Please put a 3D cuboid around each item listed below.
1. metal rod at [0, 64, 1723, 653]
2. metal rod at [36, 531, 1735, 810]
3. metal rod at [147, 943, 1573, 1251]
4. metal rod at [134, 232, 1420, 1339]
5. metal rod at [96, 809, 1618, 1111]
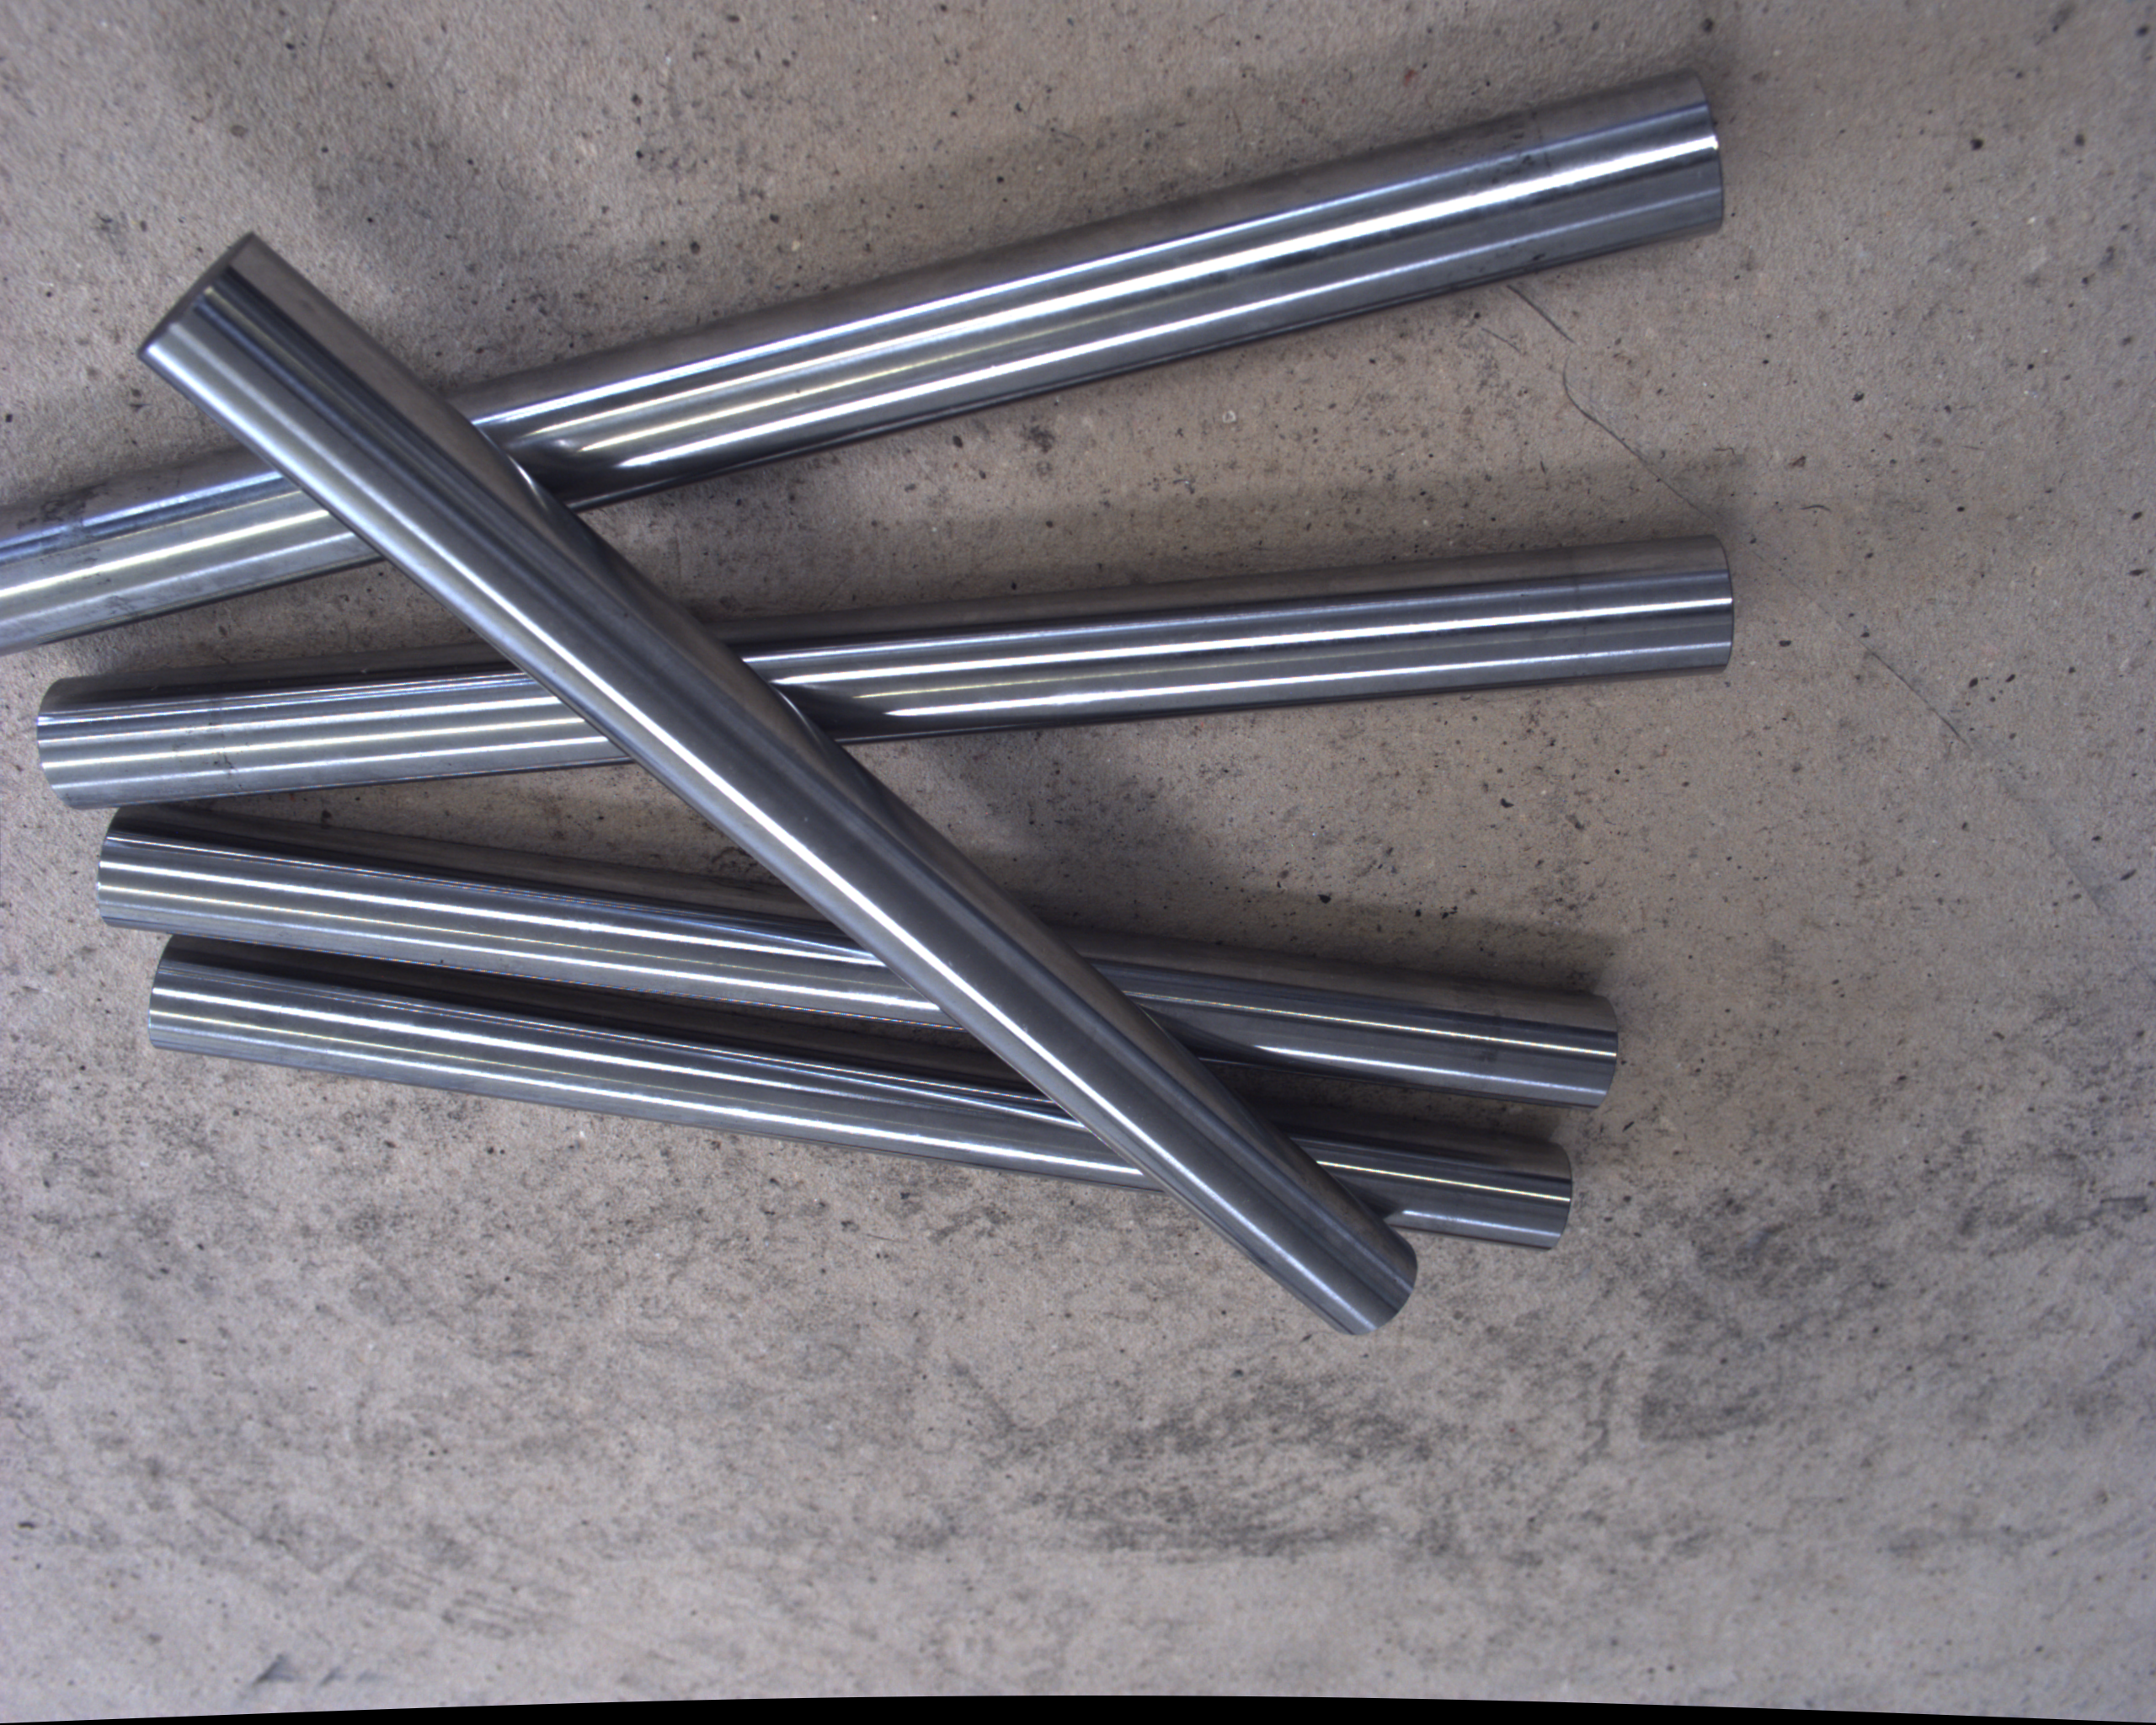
[{"bbox_3d":[-0.050,-0.078,0.342,0.301,0.025,0.025,-12,129,9],"label":"metal rod"},{"bbox_3d":[-0.037,-0.034,0.379,0.302,0.025,0.025,-5,130,3],"label":"metal rod"},{"bbox_3d":[-0.040,0.051,0.451,0.302,0.025,0.025,10,130,-9],"label":"metal rod"},{"bbox_3d":[-0.033,0.005,0.379,0.025,0.025,0.300,-33,123,24],"label":"metal rod"},{"bbox_3d":[-0.039,0.021,0.426,0.302,0.025,0.025,8,130,-7],"label":"metal rod"}]
